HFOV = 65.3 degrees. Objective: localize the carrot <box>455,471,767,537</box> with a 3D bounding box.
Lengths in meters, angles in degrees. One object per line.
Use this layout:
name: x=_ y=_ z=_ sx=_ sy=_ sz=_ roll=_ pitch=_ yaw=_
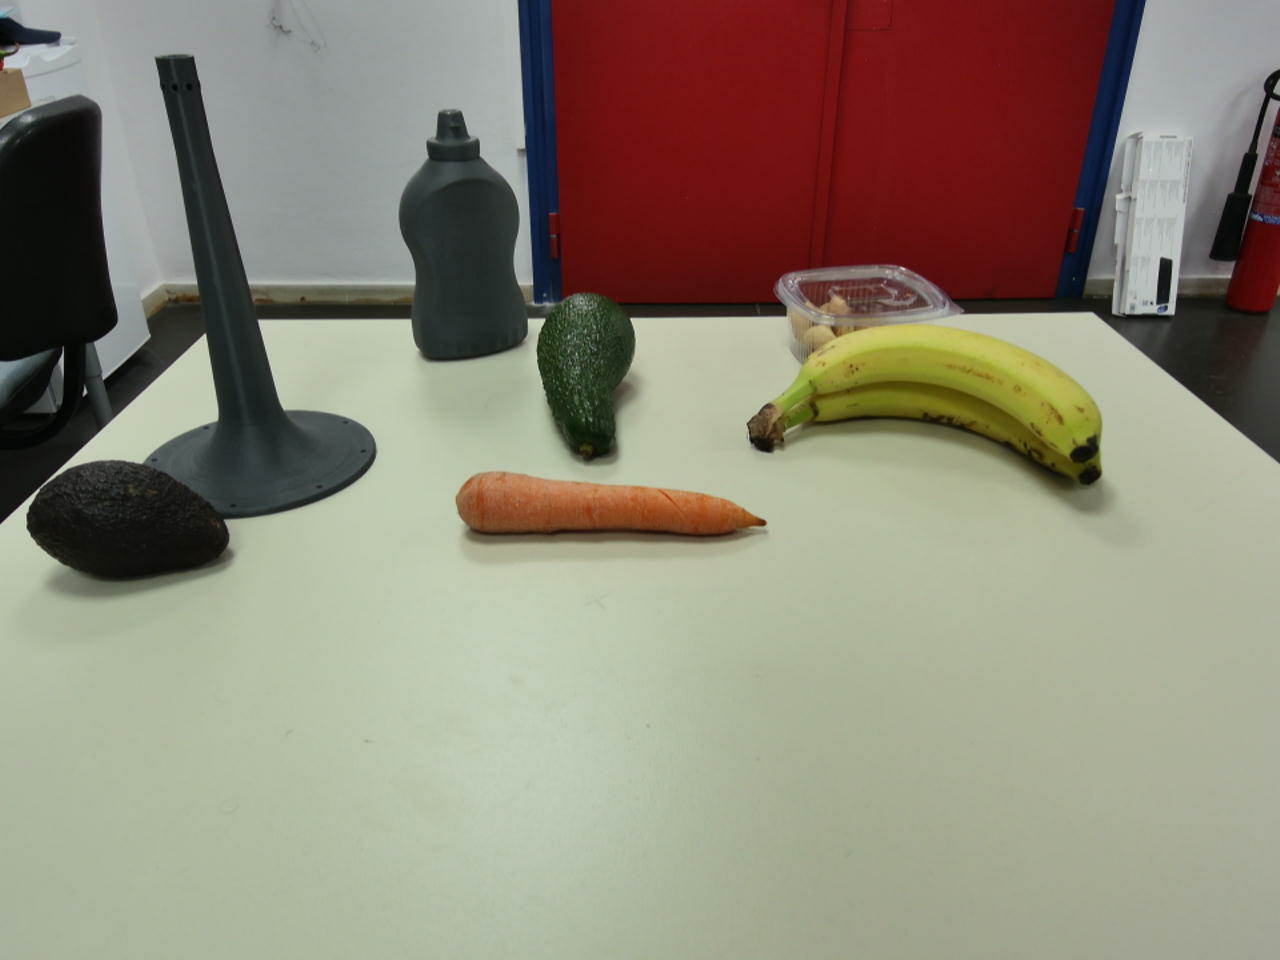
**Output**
carrot: x=-0.017 y=0.015 z=0.629 sx=0.196 sy=0.041 sz=0.039 roll=0 pitch=27 yaw=0
